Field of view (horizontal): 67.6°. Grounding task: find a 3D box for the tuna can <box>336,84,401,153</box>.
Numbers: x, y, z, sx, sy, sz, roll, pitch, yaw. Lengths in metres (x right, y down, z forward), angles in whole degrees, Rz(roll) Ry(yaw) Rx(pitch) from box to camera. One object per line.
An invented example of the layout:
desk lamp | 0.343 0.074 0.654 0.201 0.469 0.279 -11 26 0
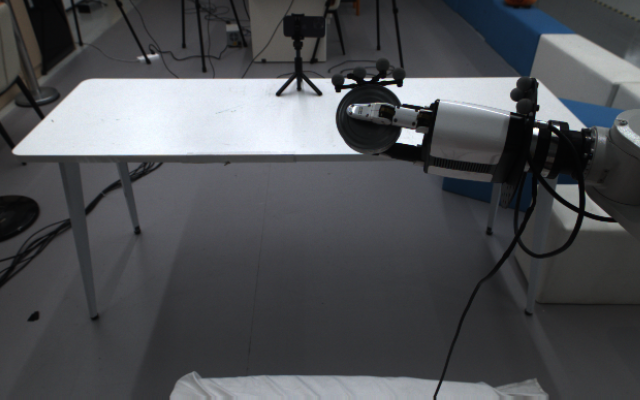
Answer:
tuna can | 0.065 -0.104 0.629 0.085 0.085 0.034 10 -6 11
